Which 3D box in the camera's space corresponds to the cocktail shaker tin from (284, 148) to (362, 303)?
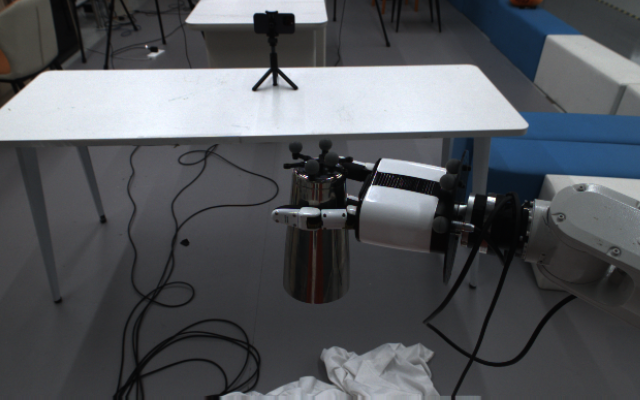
[{"bbox_3d":[0.000,0.034,0.632,0.093,0.170,0.093,1,27,-1],"label":"cocktail shaker tin"}]
